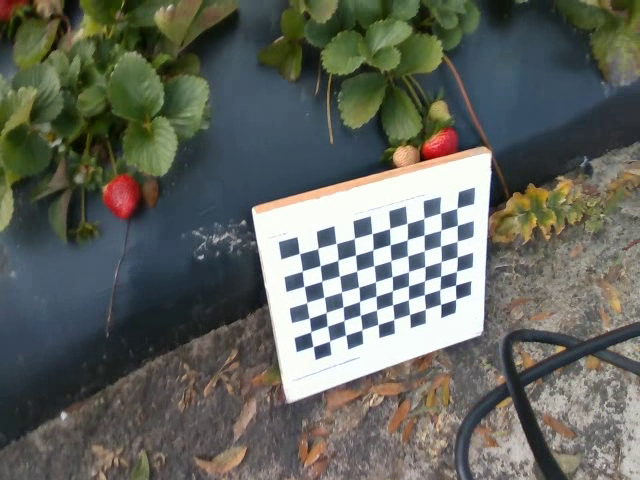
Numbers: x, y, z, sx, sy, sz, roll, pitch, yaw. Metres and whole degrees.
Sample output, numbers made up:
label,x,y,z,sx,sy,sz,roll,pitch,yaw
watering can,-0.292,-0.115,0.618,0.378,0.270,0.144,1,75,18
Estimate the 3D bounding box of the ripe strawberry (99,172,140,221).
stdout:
label,x,y,z,sx,sy,sz,roll,pitch,yaw
ripe strawberry,-0.227,-0.044,0.838,0.050,0.053,0.049,-24,-36,-14
